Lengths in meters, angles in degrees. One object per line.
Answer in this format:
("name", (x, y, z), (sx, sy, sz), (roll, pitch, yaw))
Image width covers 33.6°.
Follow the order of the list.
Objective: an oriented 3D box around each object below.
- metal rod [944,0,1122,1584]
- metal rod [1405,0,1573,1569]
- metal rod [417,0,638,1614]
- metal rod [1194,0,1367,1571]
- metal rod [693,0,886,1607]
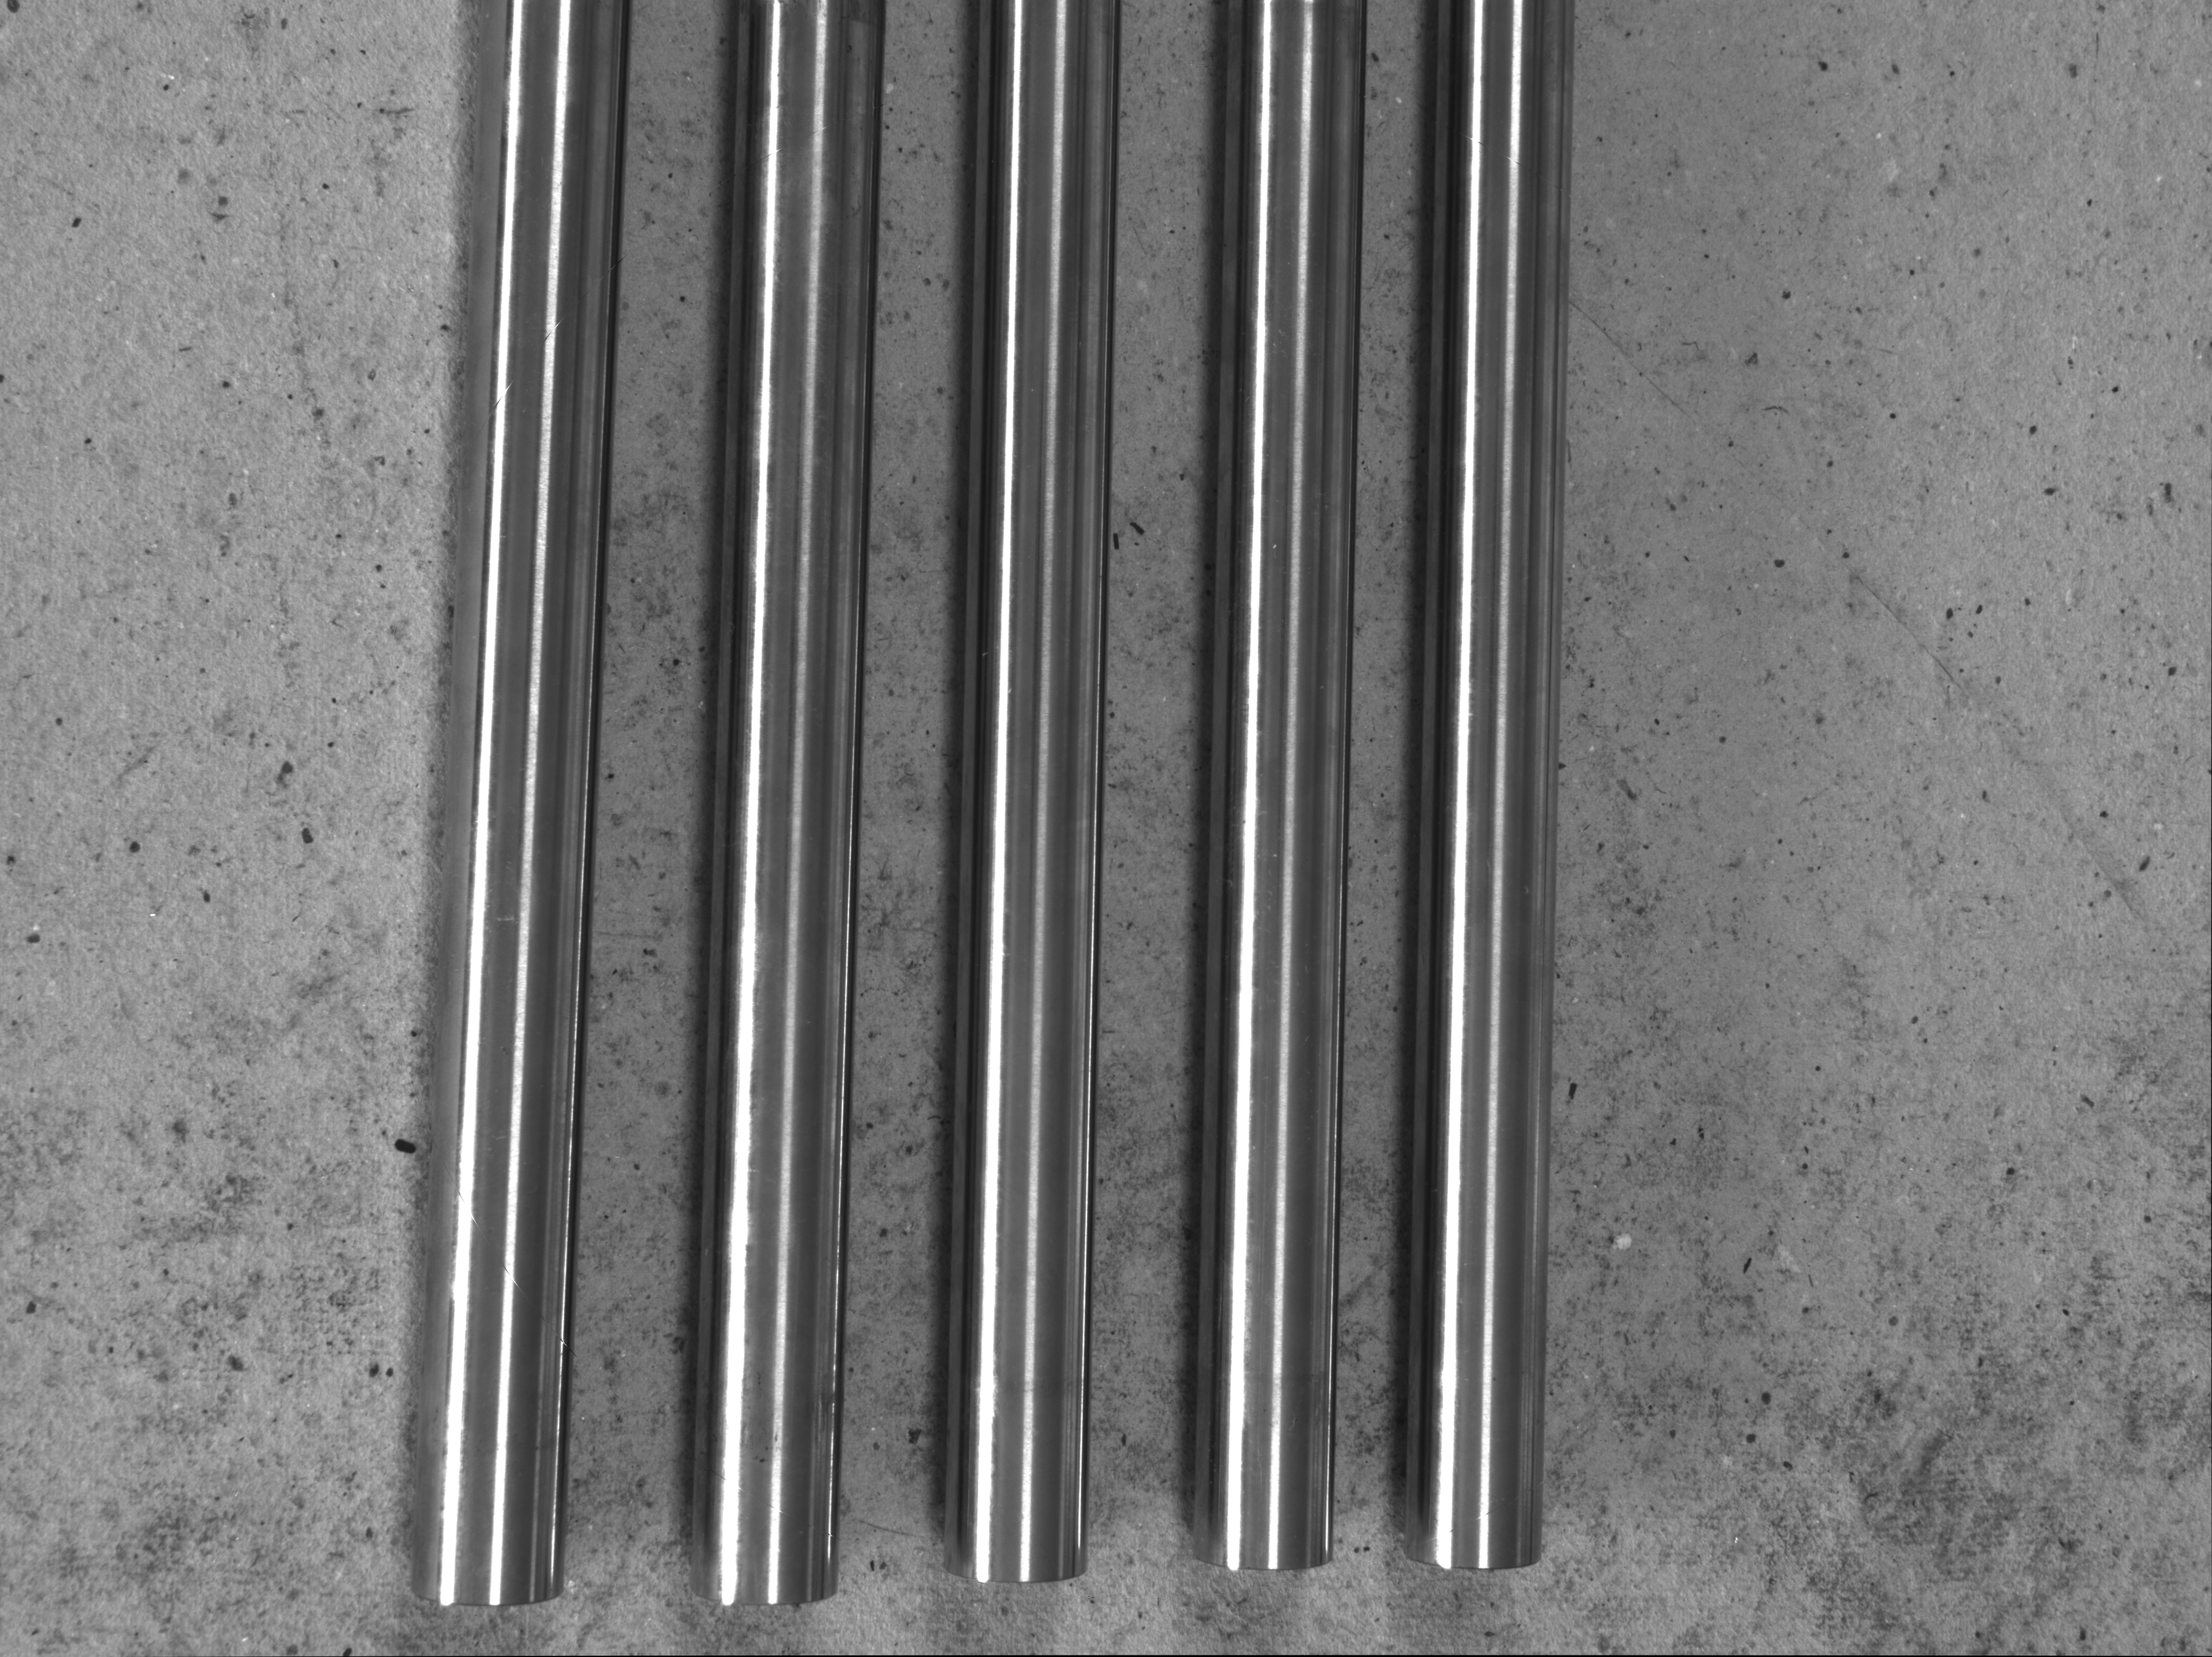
("metal rod", (-0.012, -0.021, 0.638), (0.025, 0.025, 0.300), (1, 89, -20))
("metal rod", (0.070, -0.018, 0.668), (0.025, 0.025, 0.300), (1, 89, -20))
("metal rod", (-0.095, -0.023, 0.607), (0.025, 0.025, 0.300), (3, 89, -20))
("metal rod", (0.031, -0.020, 0.654), (0.025, 0.025, 0.300), (1, 89, -20))
("metal rod", (-0.053, -0.021, 0.623), (0.025, 0.025, 0.300), (2, 89, -20))
